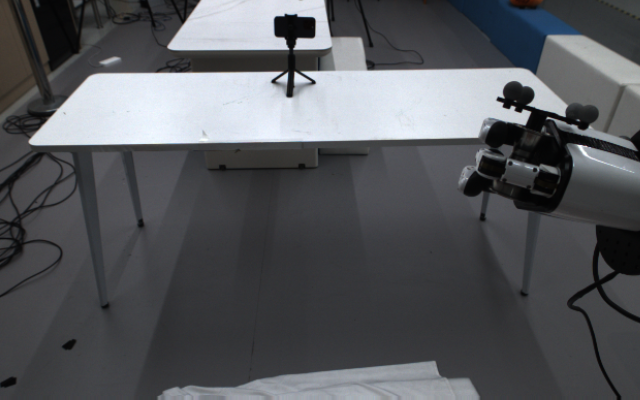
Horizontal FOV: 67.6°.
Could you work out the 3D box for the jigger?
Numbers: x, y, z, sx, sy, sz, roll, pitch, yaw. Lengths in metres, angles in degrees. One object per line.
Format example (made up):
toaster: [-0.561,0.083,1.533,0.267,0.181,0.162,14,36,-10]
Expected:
jigger: [0.199,-0.038,0.485,0.043,0.071,0.043,15,16,-4]
